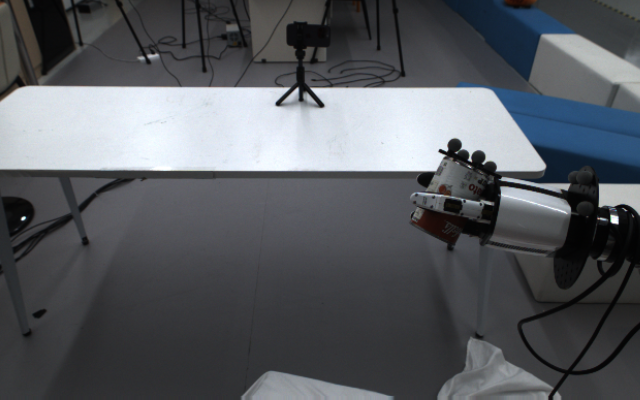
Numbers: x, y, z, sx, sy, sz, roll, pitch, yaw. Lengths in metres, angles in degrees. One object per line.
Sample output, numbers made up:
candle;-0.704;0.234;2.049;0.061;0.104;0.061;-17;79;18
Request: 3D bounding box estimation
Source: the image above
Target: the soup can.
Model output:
soup can;0.174;0.000;0.645;0.067;0.101;0.067;26;5;-2
